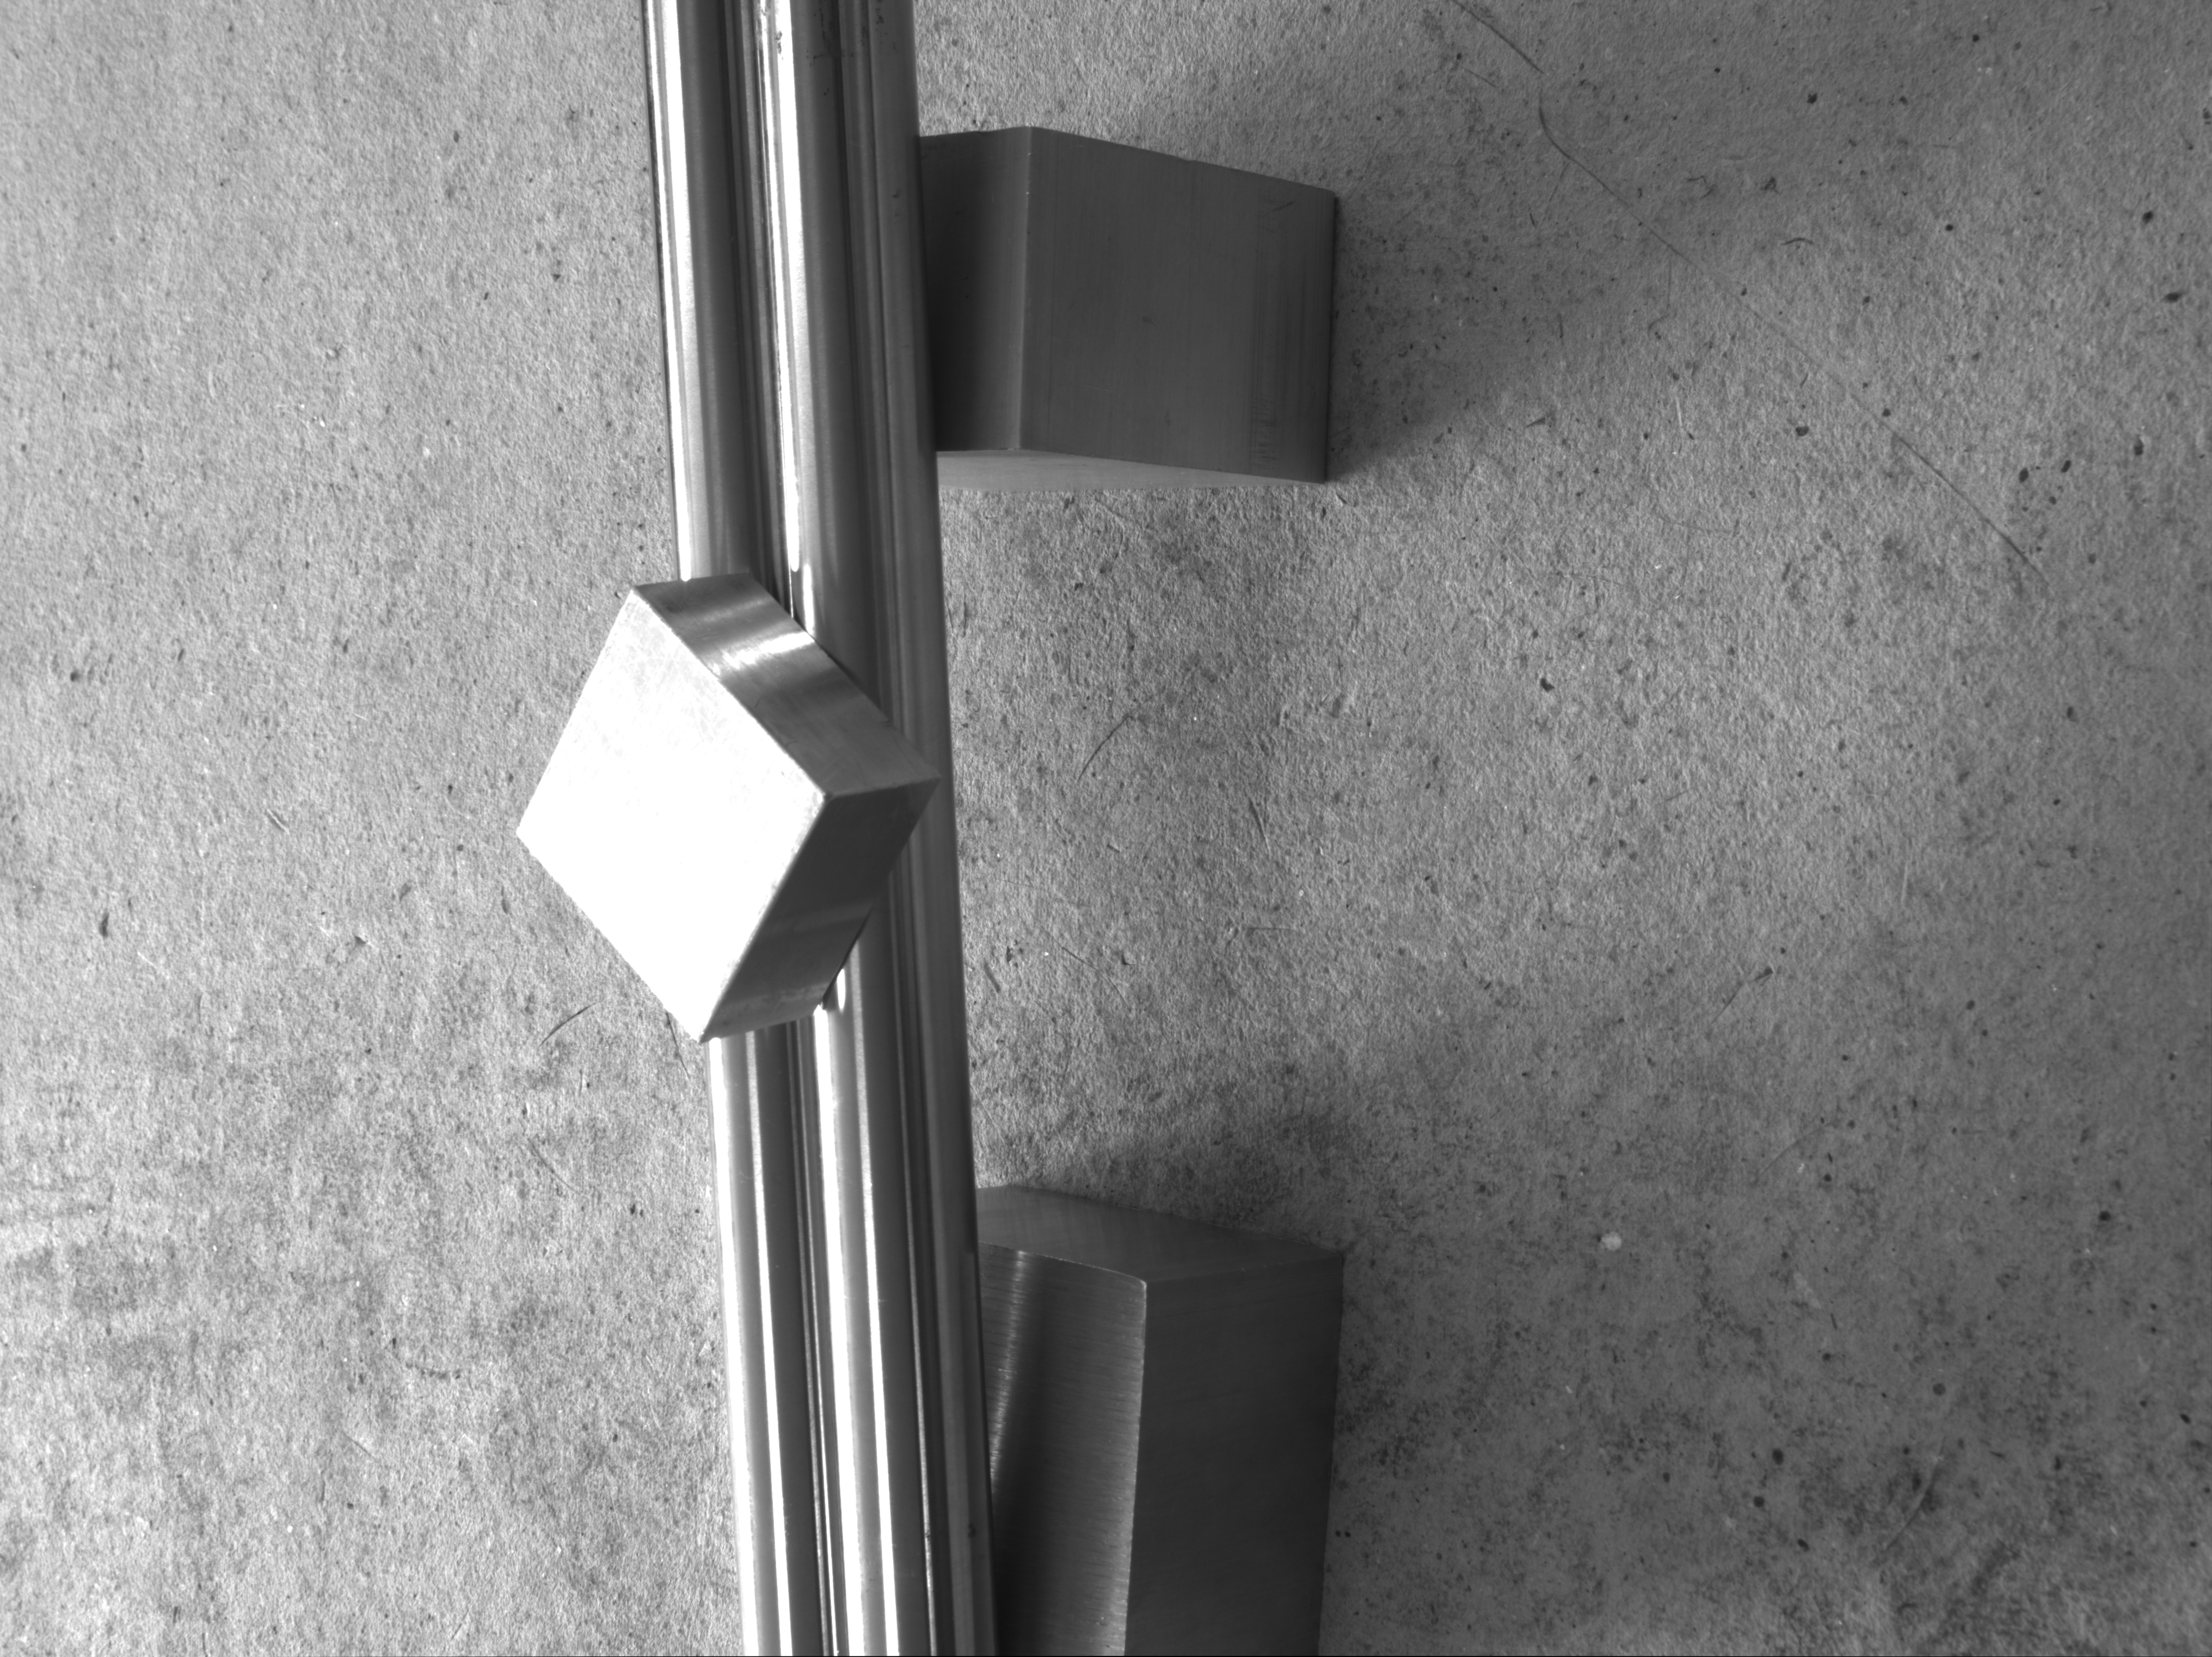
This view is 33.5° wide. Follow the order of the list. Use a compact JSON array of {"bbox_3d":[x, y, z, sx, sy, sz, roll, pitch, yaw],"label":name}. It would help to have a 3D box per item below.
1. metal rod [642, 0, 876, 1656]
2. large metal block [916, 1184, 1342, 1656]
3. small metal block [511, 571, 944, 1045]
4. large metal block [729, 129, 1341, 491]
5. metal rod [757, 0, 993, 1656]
[{"bbox_3d":[-0.056,-0.005,0.597,0.025,0.025,0.300,4,100,40],"label":"metal rod"},{"bbox_3d":[-0.009,0.108,0.636,0.080,0.050,0.080,6,94,40],"label":"large metal block"},{"bbox_3d":[-0.059,-0.004,0.568,0.050,0.025,0.050,46,123,25],"label":"small metal block"},{"bbox_3d":[-0.017,-0.085,0.625,0.080,0.080,0.050,4,93,40],"label":"large metal block"},{"bbox_3d":[-0.036,-0.003,0.581,0.025,0.025,0.300,4,100,40],"label":"metal rod"}]
